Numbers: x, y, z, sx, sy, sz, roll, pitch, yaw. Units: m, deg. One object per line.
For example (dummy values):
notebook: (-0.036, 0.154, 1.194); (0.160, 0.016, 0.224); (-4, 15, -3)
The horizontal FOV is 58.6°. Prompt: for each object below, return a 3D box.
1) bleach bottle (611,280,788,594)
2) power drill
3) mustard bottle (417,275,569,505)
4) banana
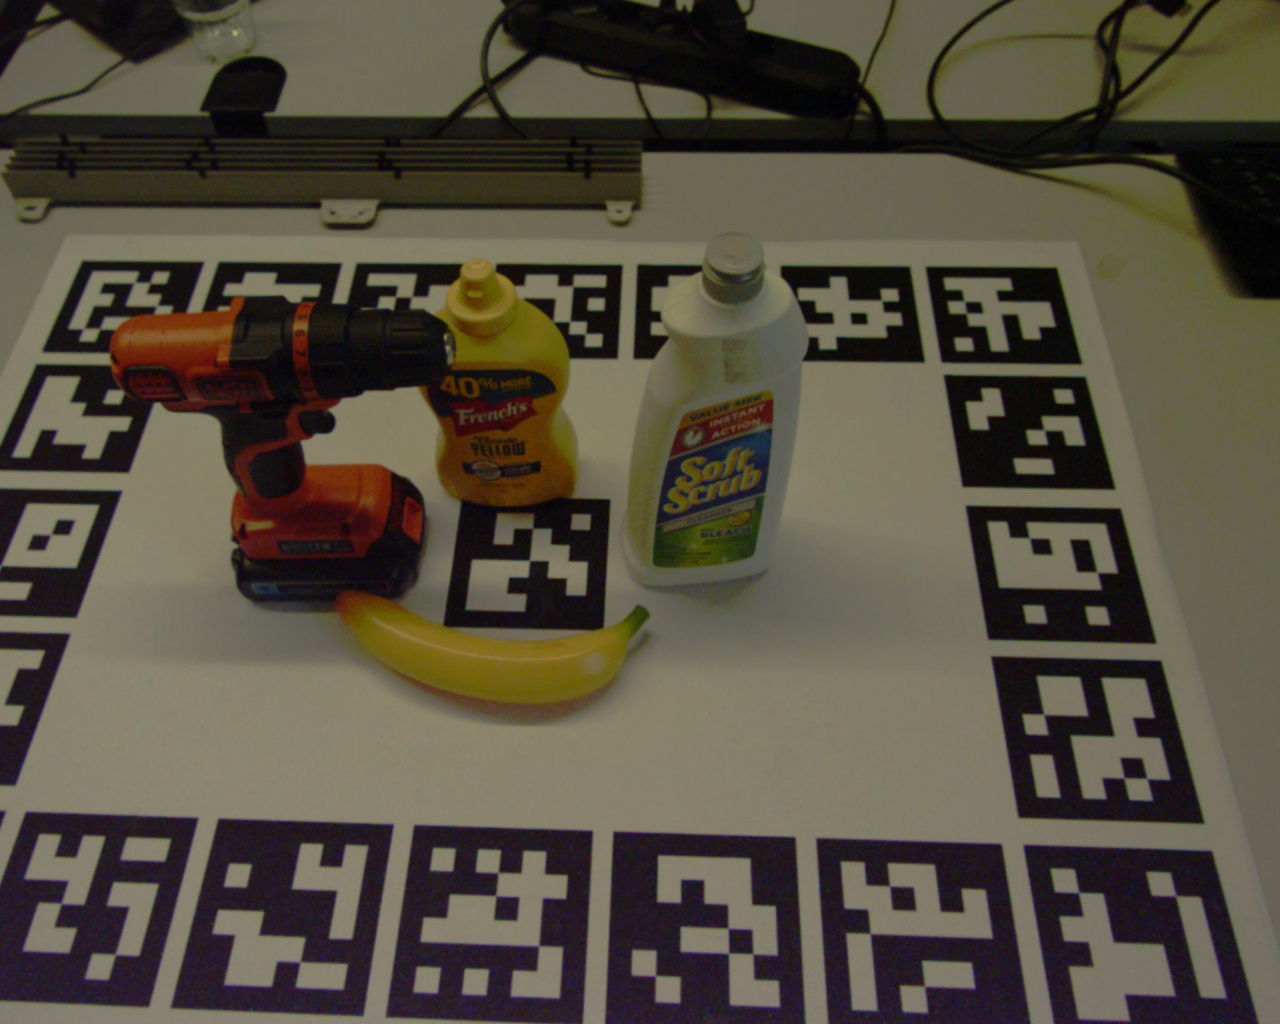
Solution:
bleach bottle: (0.032, -0.040, 0.686); (0.102, 0.250, 0.068); (-6, 57, -3)
power drill: (-0.200, -0.041, 0.696); (0.184, 0.186, 0.057); (0, 49, -2)
mustard bottle: (-0.097, -0.079, 0.741); (0.096, 0.191, 0.058); (2, 56, 1)
banana: (-0.096, 0.081, 0.722); (0.198, 0.038, 0.074); (3, 60, 5)
